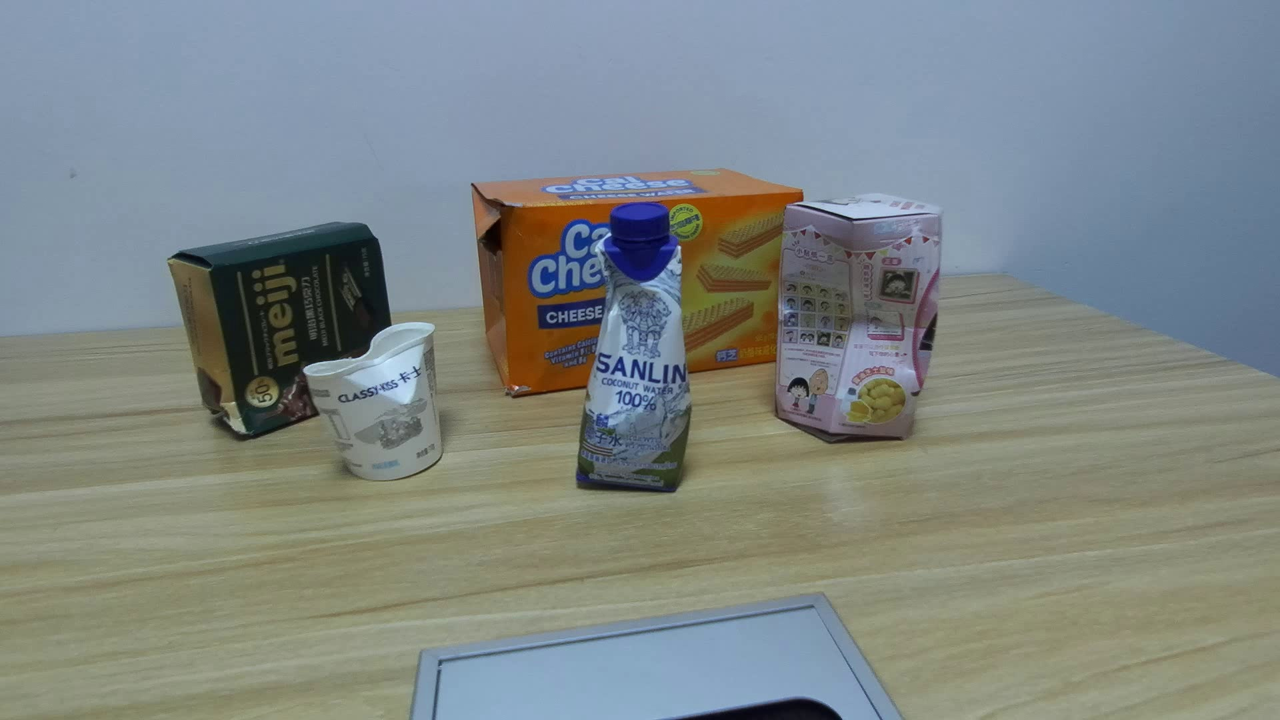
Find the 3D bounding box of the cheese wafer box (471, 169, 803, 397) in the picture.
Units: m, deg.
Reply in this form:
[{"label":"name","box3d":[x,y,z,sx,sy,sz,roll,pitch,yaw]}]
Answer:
[{"label":"cheese wafer box","box3d":[-0.009,-0.072,0.544,0.228,0.137,0.149,-7,22,-17]}]

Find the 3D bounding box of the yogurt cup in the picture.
[{"label":"yogurt cup","box3d":[-0.142,0.022,0.390,0.054,0.071,0.075,-2,22,-3]}]

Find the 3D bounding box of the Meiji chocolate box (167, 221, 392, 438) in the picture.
[{"label":"Meiji chocolate box","box3d":[-0.222,-0.024,0.453,0.058,0.116,0.123,15,26,33]}]

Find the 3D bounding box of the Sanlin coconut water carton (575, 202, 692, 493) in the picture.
[{"label":"Sanlin coconut water carton","box3d":[0.002,-0.007,0.372,0.057,0.144,0.068,6,13,0]}]
